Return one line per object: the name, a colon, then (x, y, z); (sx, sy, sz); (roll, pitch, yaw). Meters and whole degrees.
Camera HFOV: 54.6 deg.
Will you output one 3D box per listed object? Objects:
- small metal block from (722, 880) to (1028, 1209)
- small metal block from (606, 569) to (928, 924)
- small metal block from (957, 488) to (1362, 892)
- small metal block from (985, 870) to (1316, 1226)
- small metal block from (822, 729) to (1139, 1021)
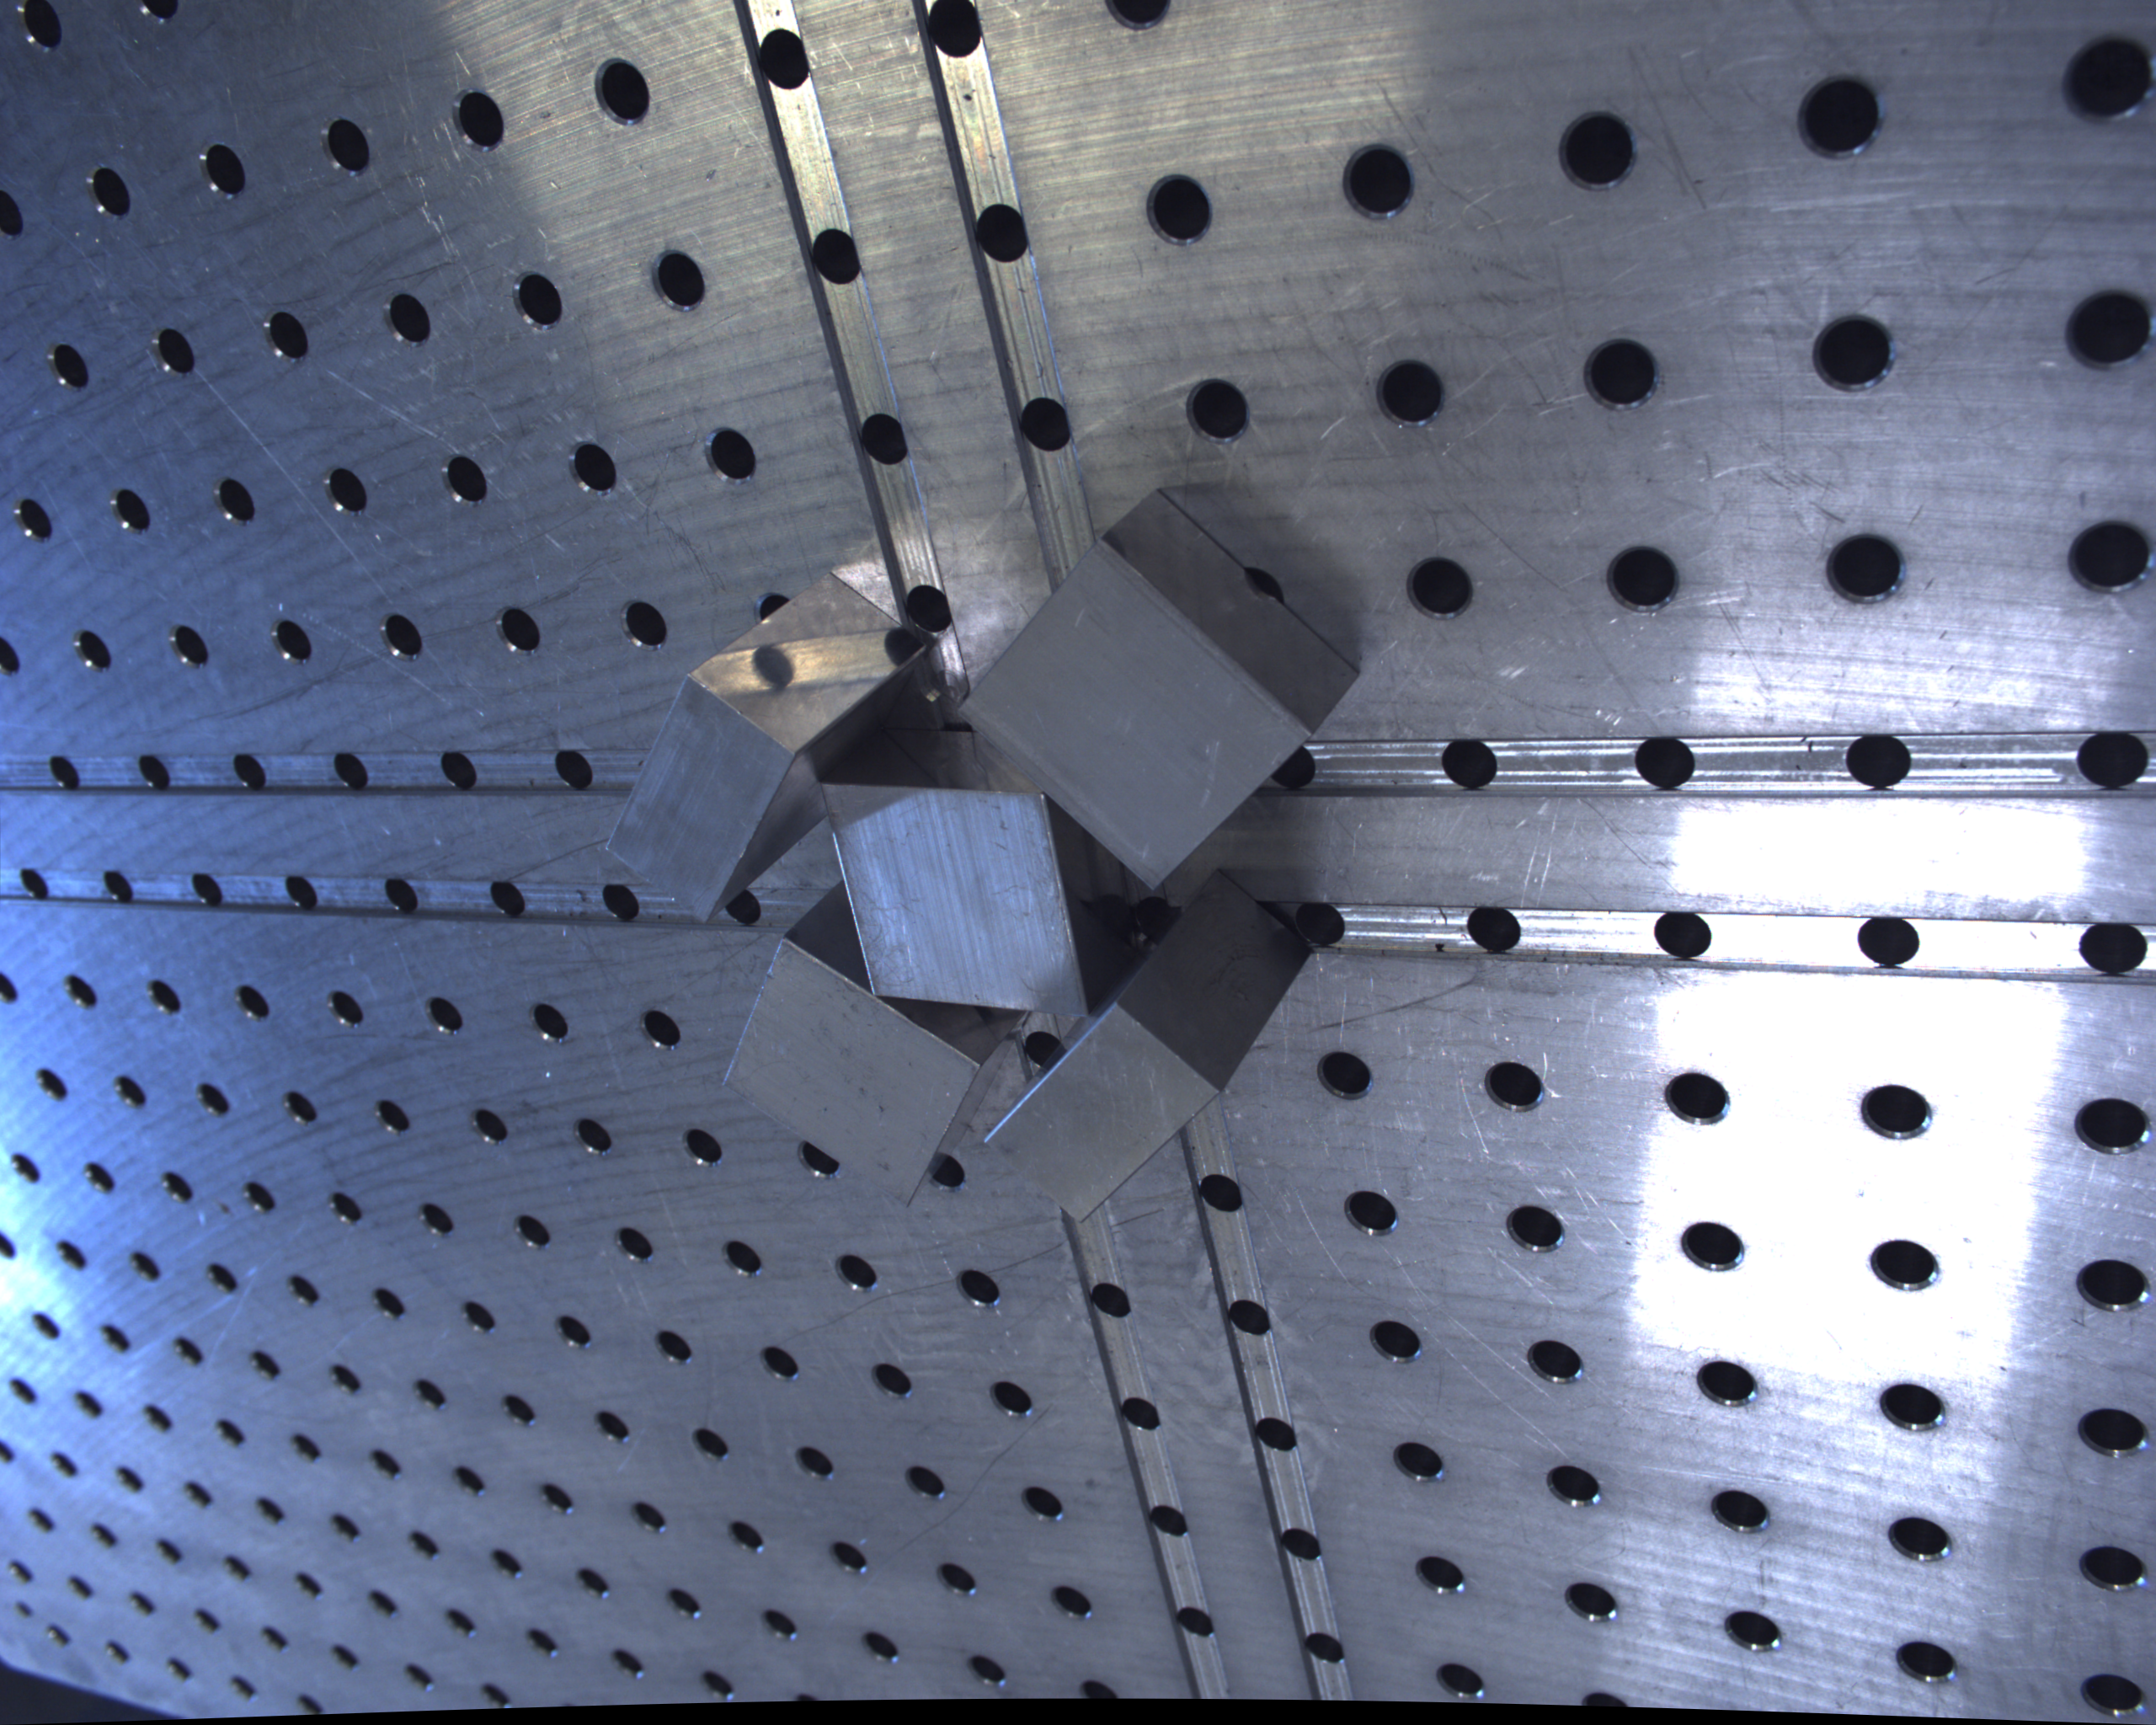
small metal block: (-0.044, 0.040, 0.460); (0.050, 0.025, 0.050); (33, 128, 6)
small metal block: (-0.061, -0.023, 0.413); (0.025, 0.050, 0.050); (37, 130, 2)
small metal block: (0.014, -0.031, 0.385); (0.050, 0.025, 0.050); (42, 130, -1)
small metal block: (0.015, 0.036, 0.410); (0.025, 0.050, 0.050); (41, 129, 1)
small metal block: (-0.019, 0.002, 0.422); (0.050, 0.025, 0.050); (4, 119, 27)
